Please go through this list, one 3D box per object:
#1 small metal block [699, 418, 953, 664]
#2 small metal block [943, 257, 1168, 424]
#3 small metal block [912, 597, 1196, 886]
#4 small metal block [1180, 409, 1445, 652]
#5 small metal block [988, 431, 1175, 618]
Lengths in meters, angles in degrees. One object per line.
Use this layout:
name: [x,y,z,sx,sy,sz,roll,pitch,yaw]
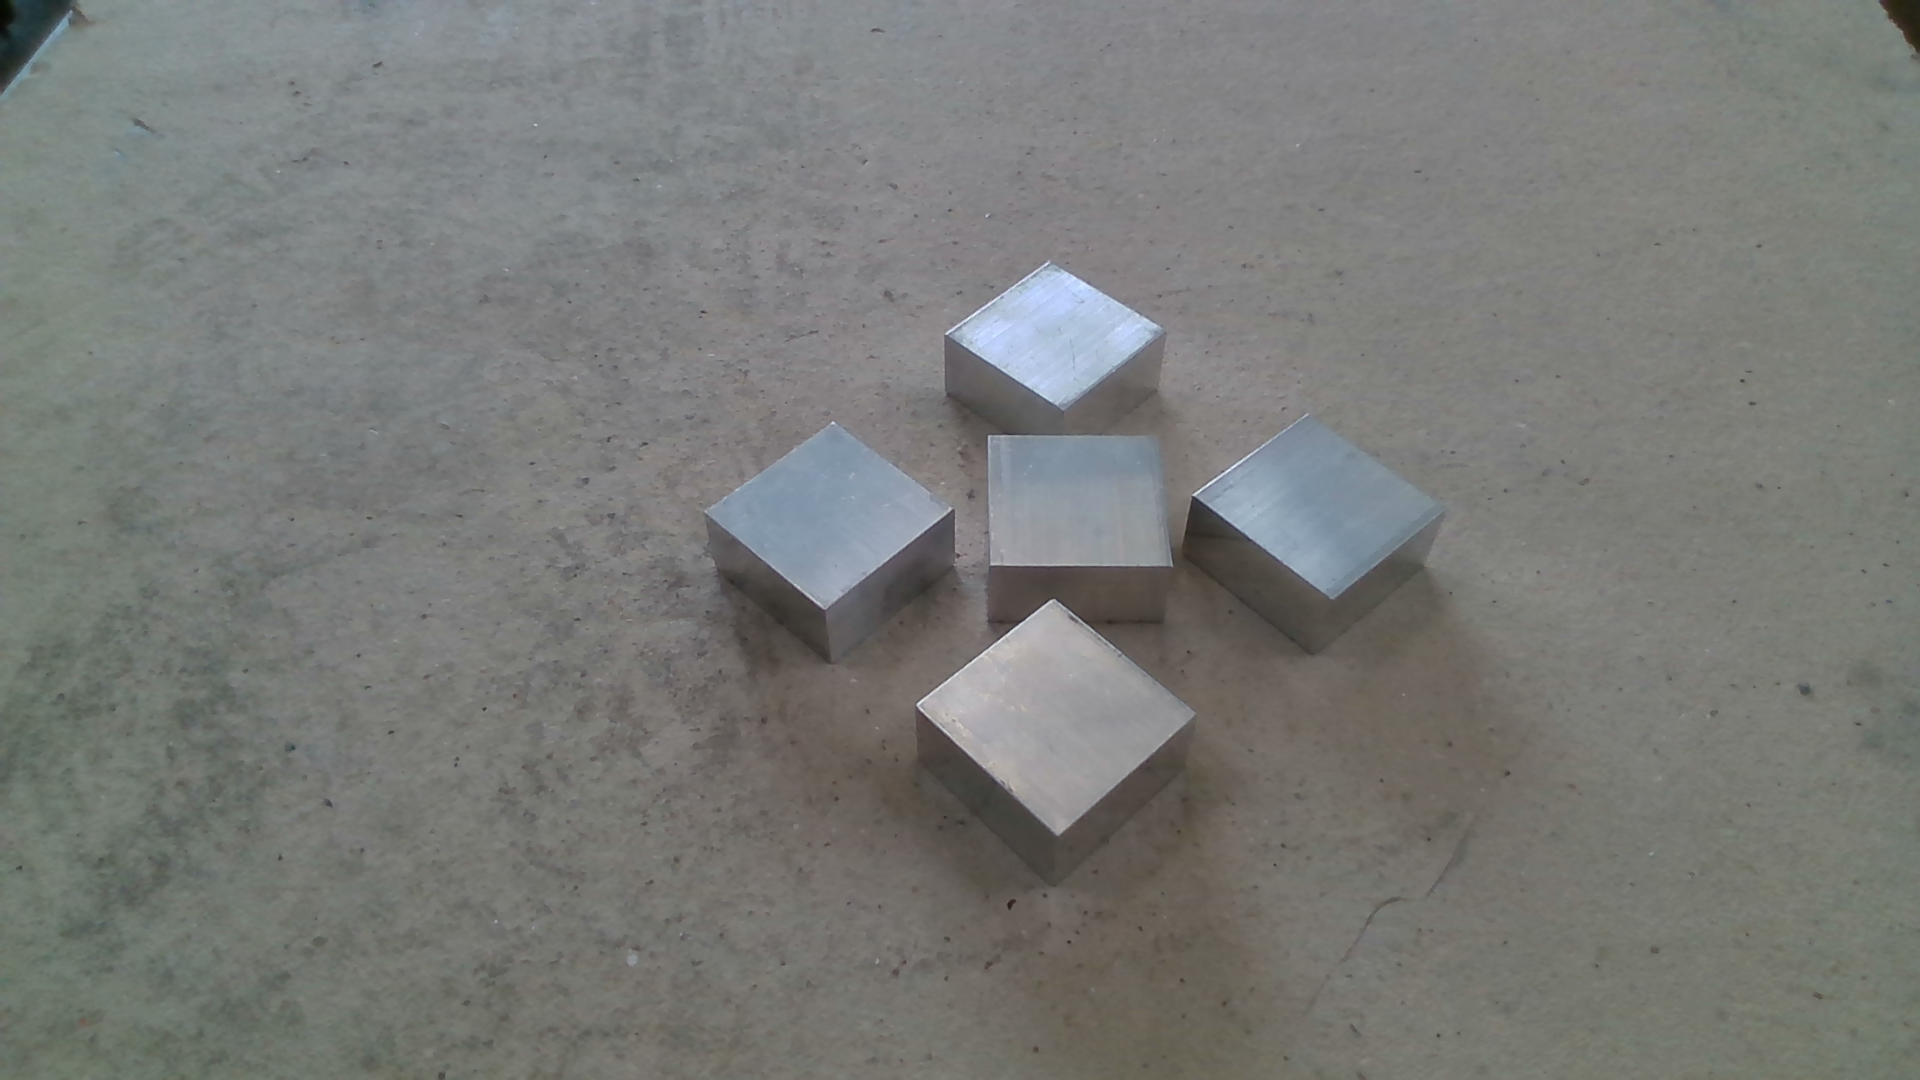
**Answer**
small metal block: [-0.037,-0.001,0.395,0.050,0.025,0.050,37,59,26]
small metal block: [0.030,-0.058,0.442,0.050,0.025,0.050,37,59,25]
small metal block: [0.023,0.050,0.352,0.050,0.025,0.050,-36,59,-26]
small metal block: [0.100,-0.004,0.396,0.050,0.025,0.050,-33,58,-25]
small metal block: [0.033,-0.005,0.397,0.050,0.025,0.050,0,50,0]
